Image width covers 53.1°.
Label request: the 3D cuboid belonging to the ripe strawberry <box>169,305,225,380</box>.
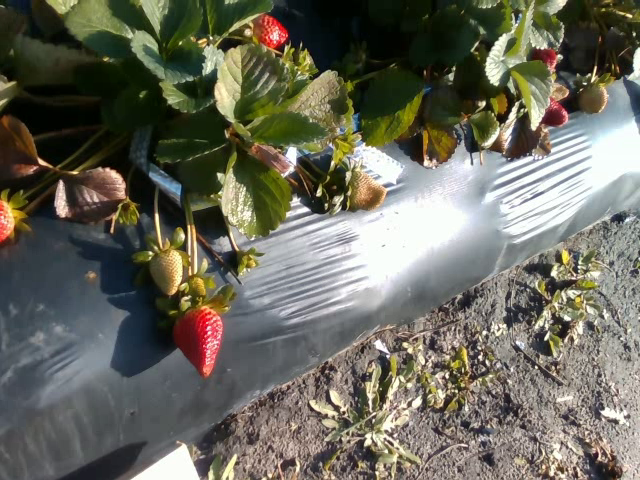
[{"bbox_3d":[-0.089,0.077,0.463,0.042,0.059,0.042,2,-17,-44],"label":"ripe strawberry"}]
